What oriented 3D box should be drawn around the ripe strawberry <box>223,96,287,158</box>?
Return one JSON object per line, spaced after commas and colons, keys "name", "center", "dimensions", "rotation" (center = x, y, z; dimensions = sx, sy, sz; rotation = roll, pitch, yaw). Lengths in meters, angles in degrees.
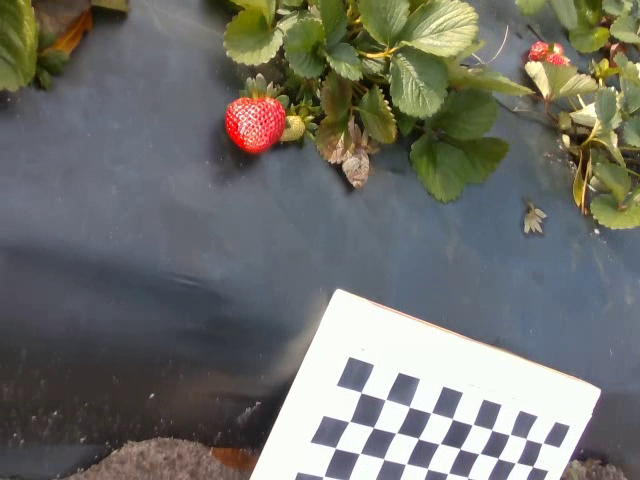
{"name": "ripe strawberry", "center": [-0.044, -0.077, 0.372], "dimensions": [0.045, 0.058, 0.050], "rotation": [26, -48, -26]}
